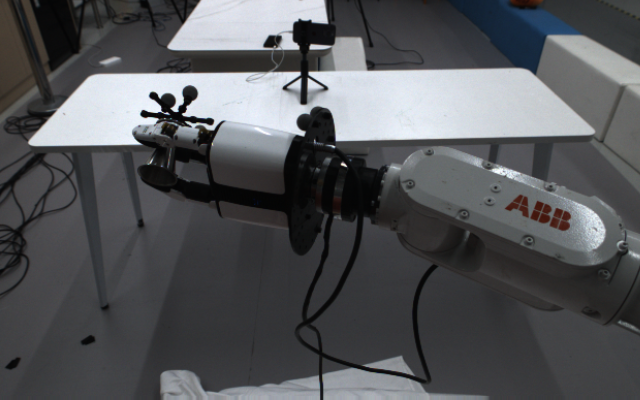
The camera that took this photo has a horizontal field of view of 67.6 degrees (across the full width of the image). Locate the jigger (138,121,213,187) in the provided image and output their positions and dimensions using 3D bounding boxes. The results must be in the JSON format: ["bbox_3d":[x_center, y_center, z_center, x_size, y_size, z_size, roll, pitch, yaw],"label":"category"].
[{"bbox_3d":[-0.181,-0.056,0.561,0.043,0.043,0.071,6,60,6],"label":"jigger"}]
